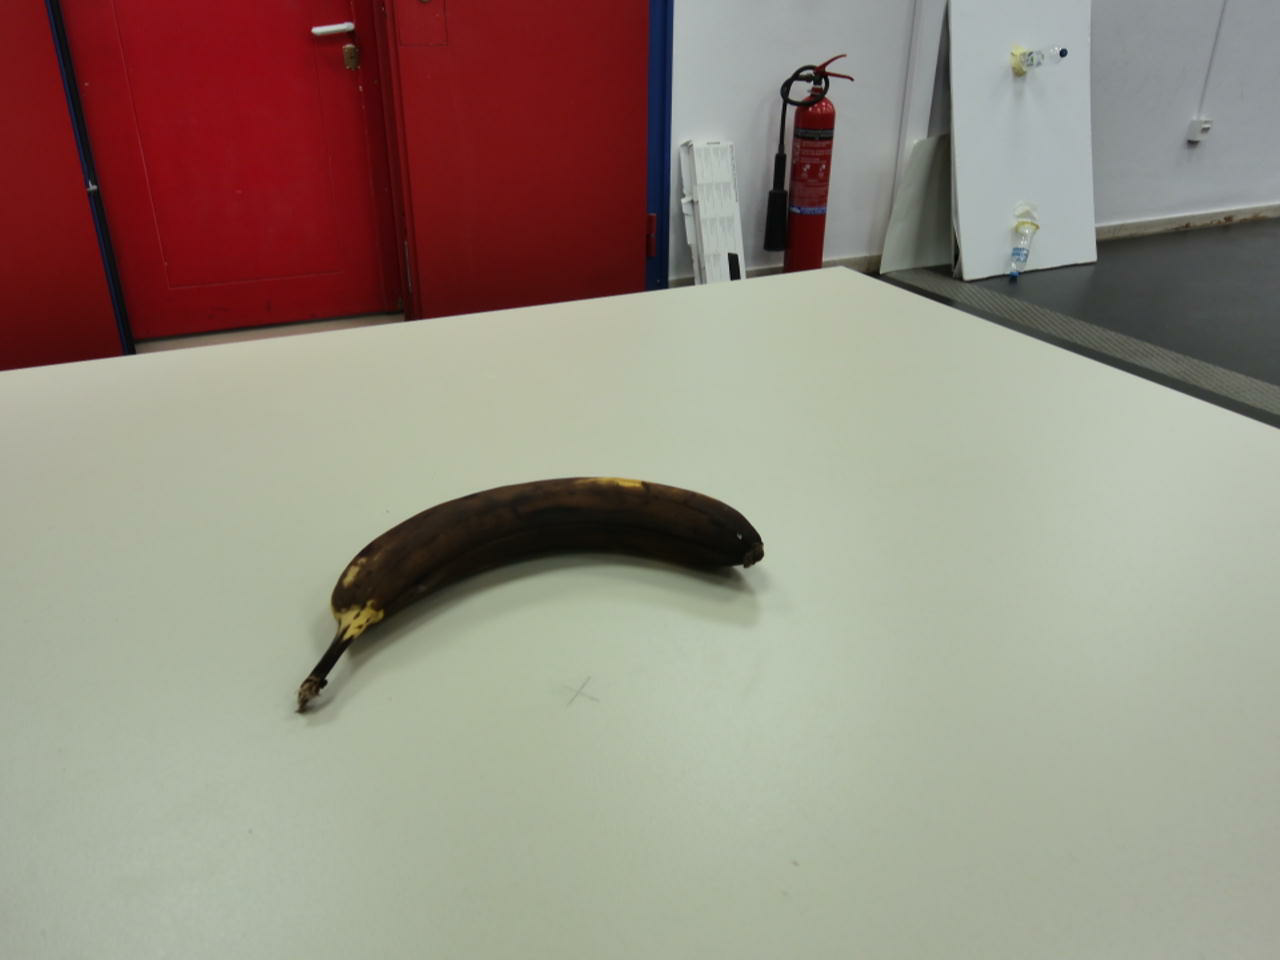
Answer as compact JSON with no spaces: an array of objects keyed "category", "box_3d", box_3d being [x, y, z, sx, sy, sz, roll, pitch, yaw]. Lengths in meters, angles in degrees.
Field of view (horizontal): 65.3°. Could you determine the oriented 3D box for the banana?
[{"category":"banana","box_3d":[-0.048,0.029,0.403,0.188,0.034,0.091,-11,26,-23]}]
